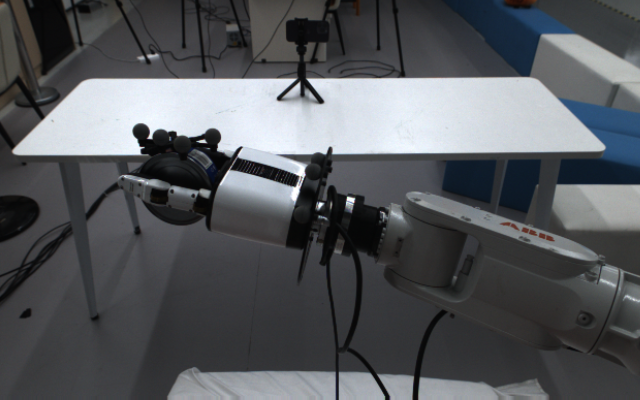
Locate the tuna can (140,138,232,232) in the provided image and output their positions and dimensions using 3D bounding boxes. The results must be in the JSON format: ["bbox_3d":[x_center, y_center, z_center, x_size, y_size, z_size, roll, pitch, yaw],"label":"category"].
[{"bbox_3d":[-0.154,-0.016,0.542,0.085,0.085,0.034,6,22,5],"label":"tuna can"}]
